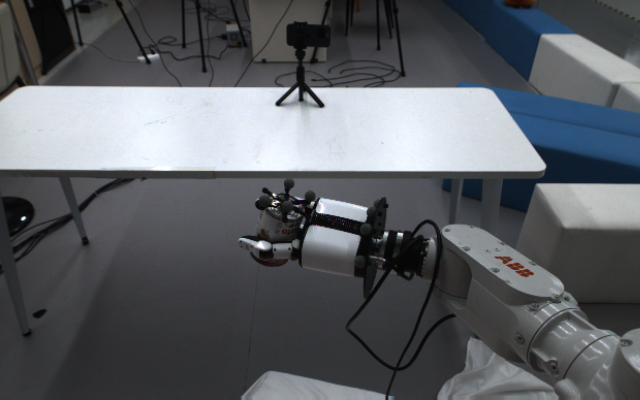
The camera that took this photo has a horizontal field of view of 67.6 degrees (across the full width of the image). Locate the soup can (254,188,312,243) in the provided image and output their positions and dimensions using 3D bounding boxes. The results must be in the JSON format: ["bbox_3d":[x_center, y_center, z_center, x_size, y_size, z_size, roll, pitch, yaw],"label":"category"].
[{"bbox_3d":[-0.068,0.048,0.768,0.067,0.101,0.067,14,36,-10],"label":"soup can"}]
